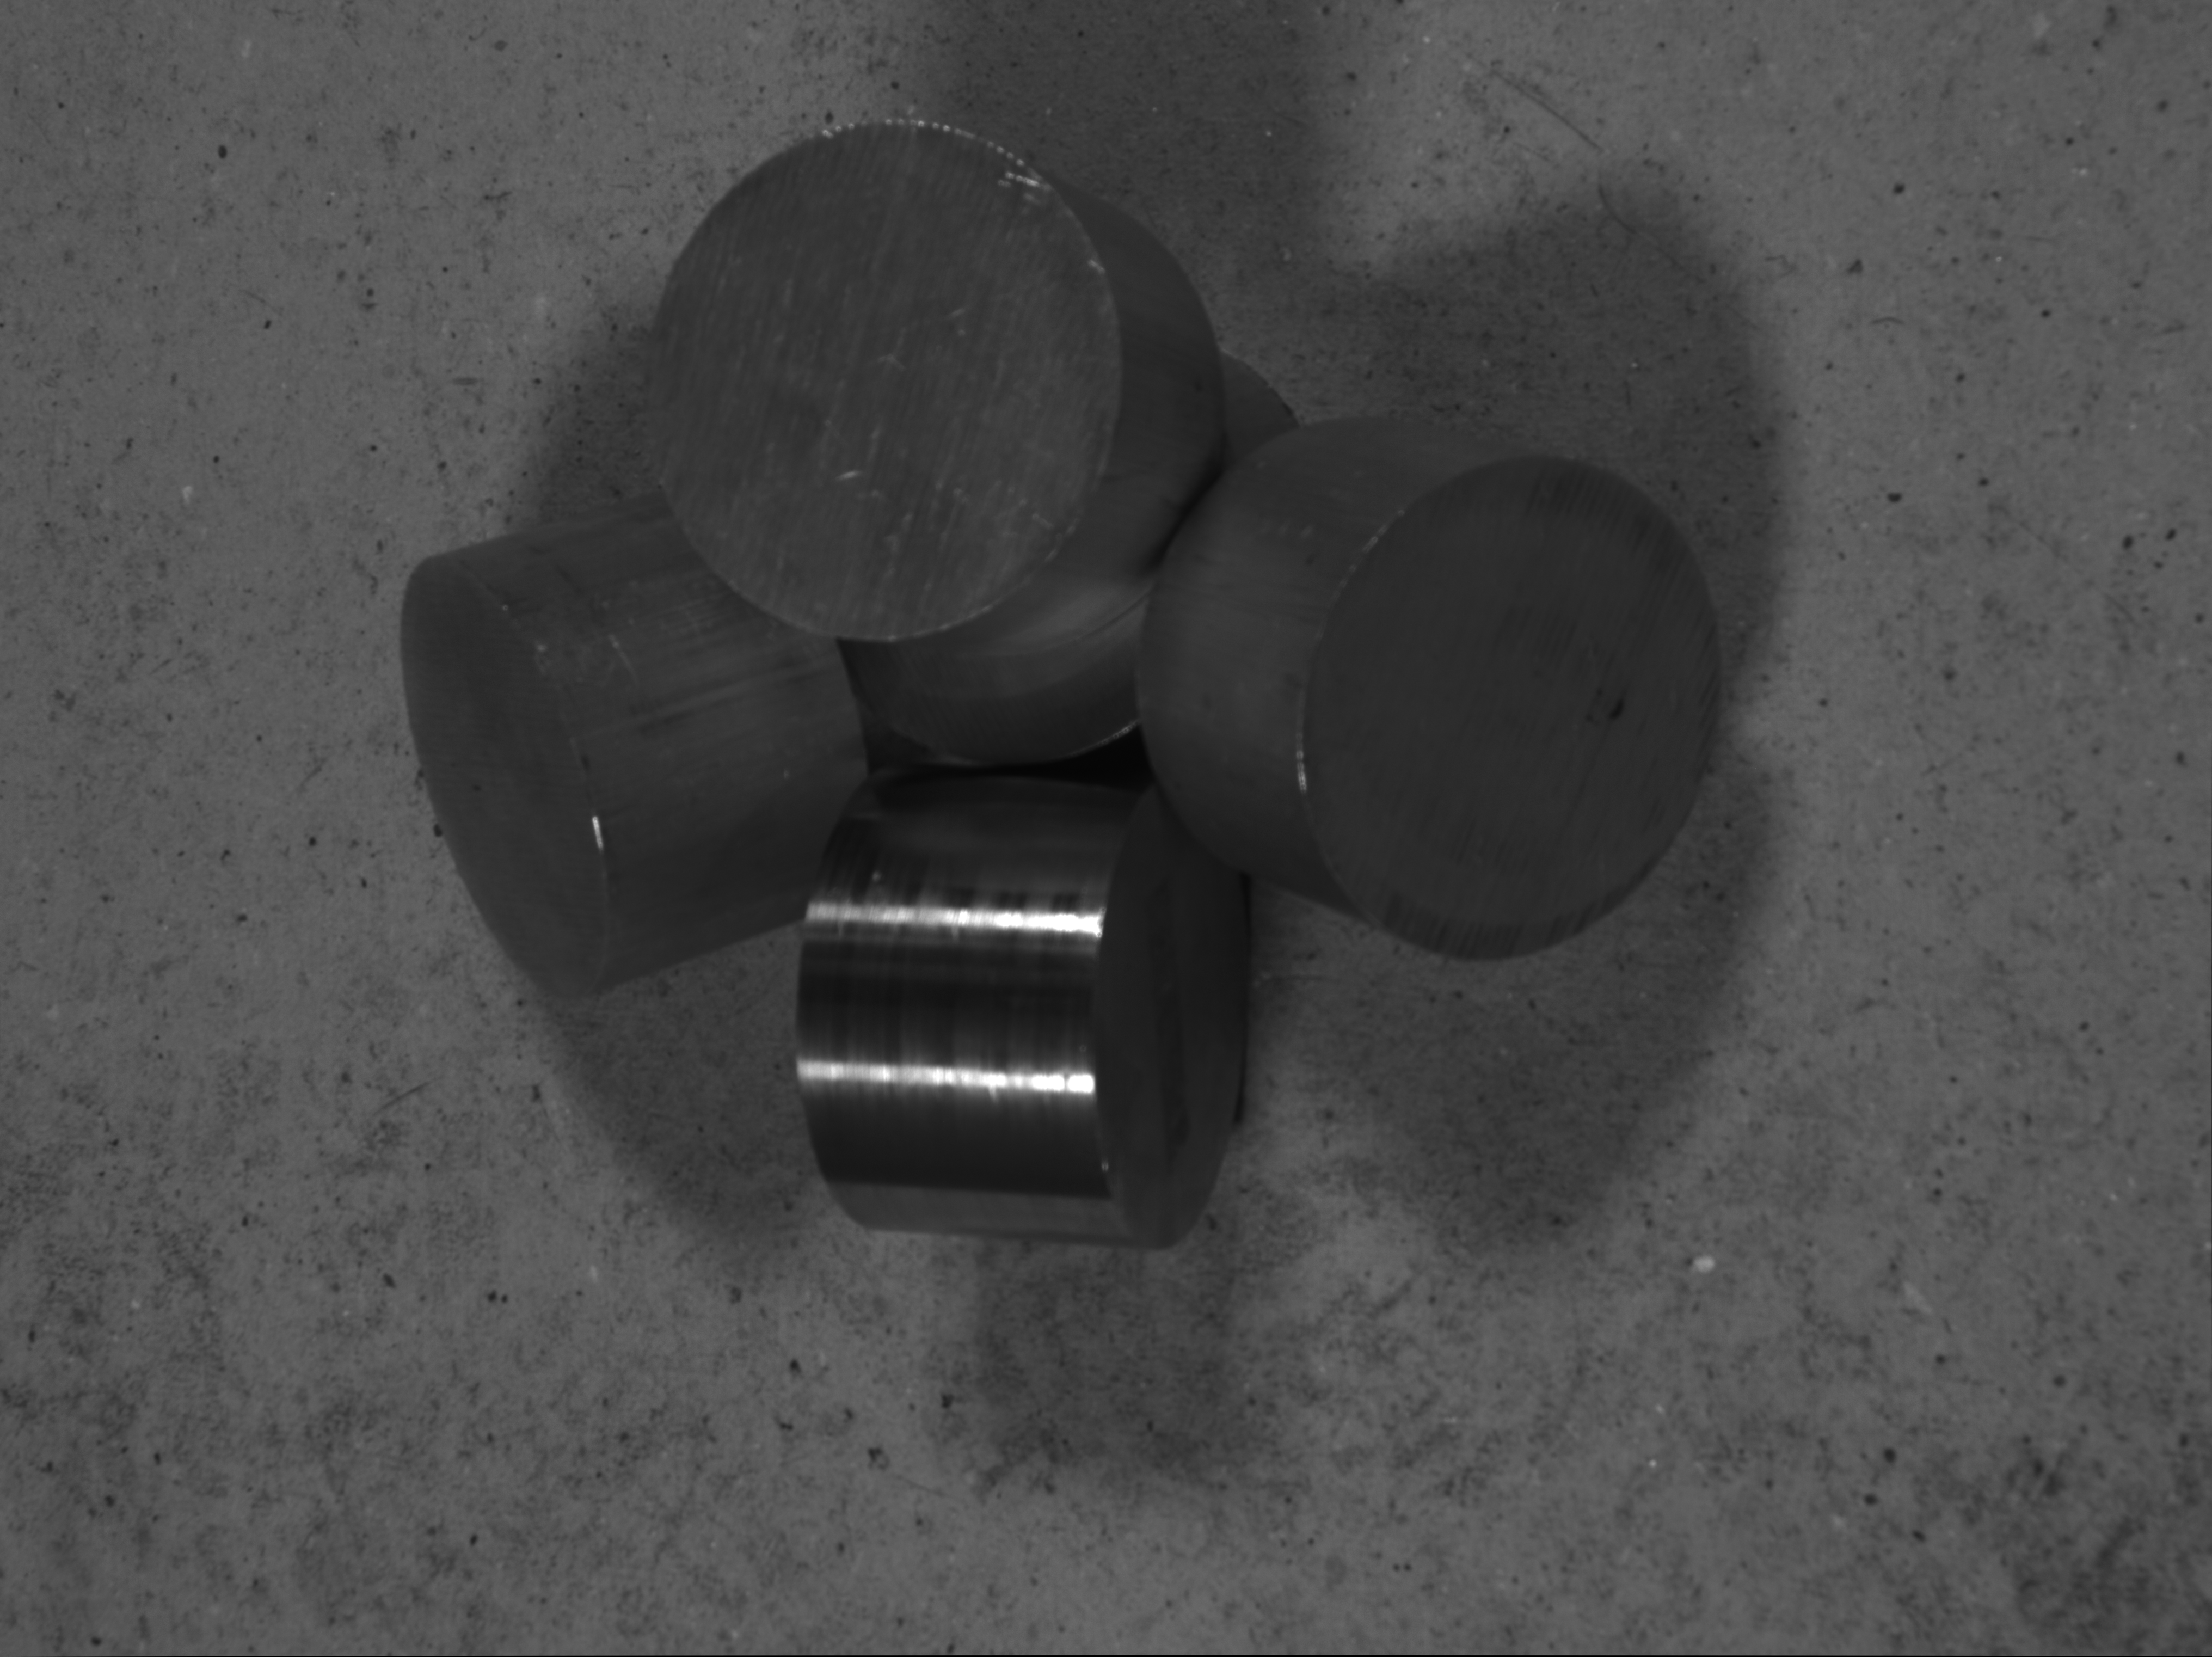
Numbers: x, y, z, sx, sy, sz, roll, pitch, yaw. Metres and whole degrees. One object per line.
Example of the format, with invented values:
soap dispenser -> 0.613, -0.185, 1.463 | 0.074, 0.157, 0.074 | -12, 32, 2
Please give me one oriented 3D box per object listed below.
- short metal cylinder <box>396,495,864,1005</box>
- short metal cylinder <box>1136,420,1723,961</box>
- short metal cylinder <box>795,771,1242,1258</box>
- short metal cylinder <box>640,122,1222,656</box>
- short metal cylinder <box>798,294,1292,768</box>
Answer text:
short metal cylinder -> -0.084, -0.015, 0.640 | 0.080, 0.050, 0.080 | 39, 139, 45
short metal cylinder -> 0.052, -0.023, 0.591 | 0.050, 0.080, 0.080 | 22, 99, 58
short metal cylinder -> -0.013, 0.031, 0.619 | 0.050, 0.080, 0.080 | 2, 90, 20
short metal cylinder -> -0.027, -0.069, 0.587 | 0.080, 0.050, 0.080 | 0, 90, 20
short metal cylinder -> -0.008, -0.050, 0.634 | 0.080, 0.050, 0.080 | 0, 90, 20
